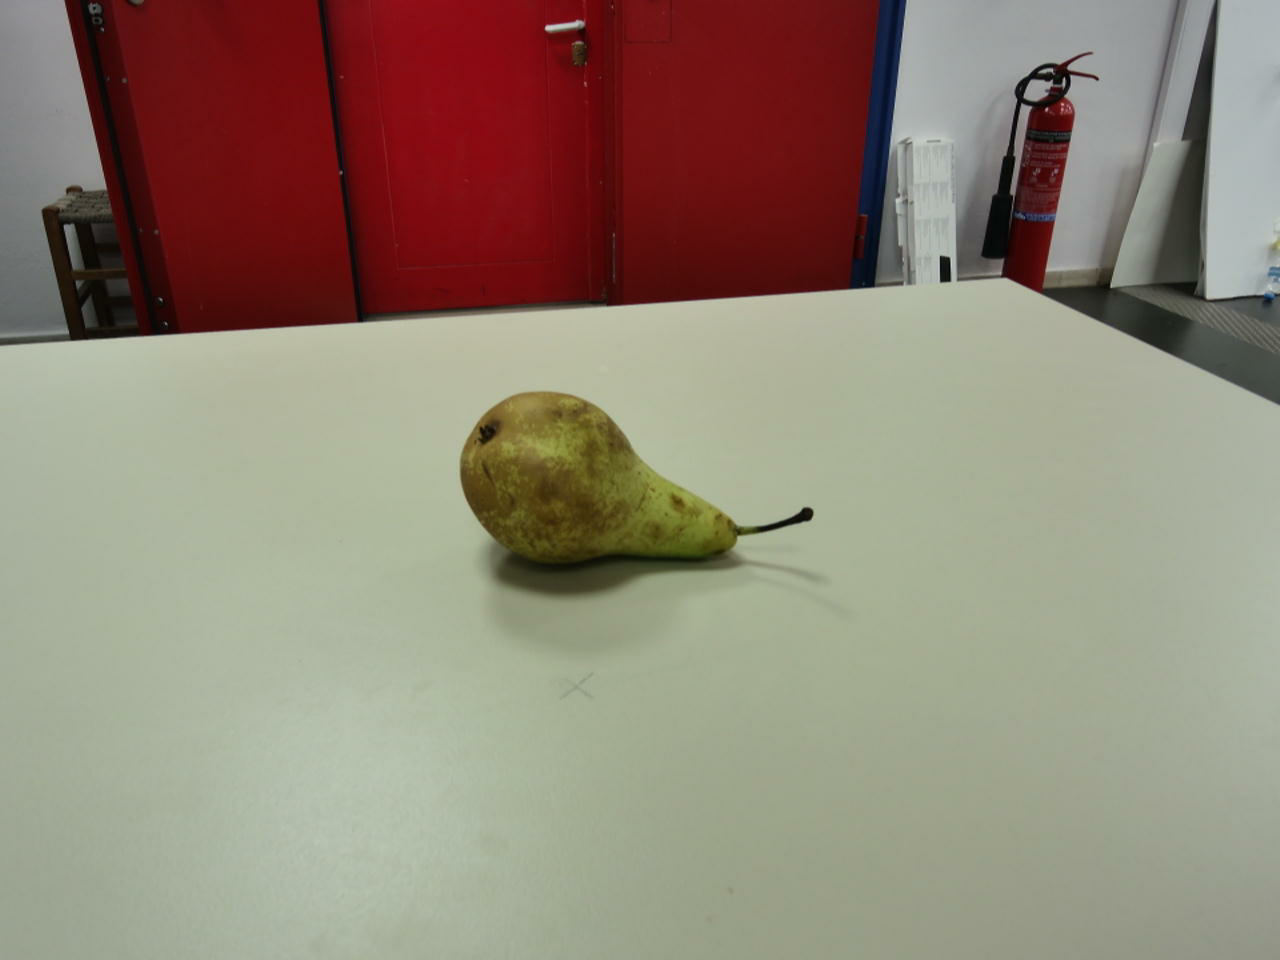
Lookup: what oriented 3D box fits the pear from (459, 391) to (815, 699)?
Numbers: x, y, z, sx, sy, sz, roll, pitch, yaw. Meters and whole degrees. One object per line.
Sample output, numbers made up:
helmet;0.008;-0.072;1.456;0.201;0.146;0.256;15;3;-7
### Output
pear;-0.004;-0.003;0.429;0.144;0.075;0.071;-3;24;-6
